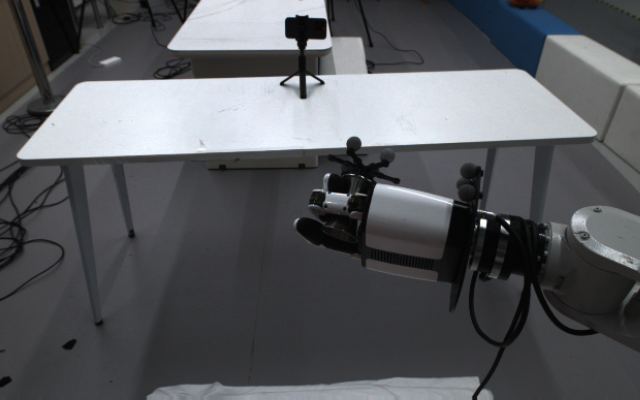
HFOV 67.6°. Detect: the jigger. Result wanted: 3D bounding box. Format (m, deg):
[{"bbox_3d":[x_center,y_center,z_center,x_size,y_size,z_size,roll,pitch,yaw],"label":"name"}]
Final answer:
[{"bbox_3d":[0.031,0.005,0.551,0.043,0.043,0.071,16,70,19],"label":"jigger"}]
